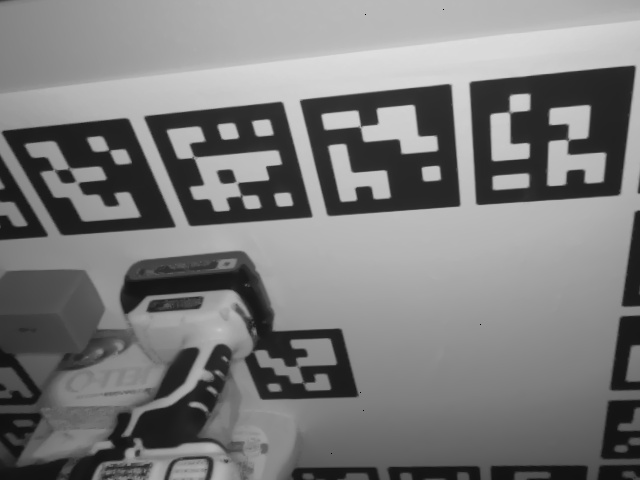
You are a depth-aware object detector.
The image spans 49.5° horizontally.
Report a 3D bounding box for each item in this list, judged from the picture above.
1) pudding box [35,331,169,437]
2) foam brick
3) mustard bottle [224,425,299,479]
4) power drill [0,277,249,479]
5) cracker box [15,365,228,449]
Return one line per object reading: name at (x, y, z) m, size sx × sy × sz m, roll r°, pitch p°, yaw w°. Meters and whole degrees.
pudding box at (-0.177, 0.125, 0.613) m, size 0.113 × 0.091 × 0.038 m, roll -6°, pitch 127°, yaw 8°
foam brick at (-0.242, 0.059, 0.612) m, size 0.078 × 0.052 × 0.052 m, roll -3°, pitch 124°, yaw 9°
mustard bottle at (-0.078, 0.266, 0.647) m, size 0.096 × 0.193 × 0.058 m, roll 6°, pitch 126°, yaw 3°
power drill at (-0.136, 0.113, 0.512) m, size 0.183 × 0.189 × 0.057 m, roll -5°, pitch 129°, yaw 12°
cracker box at (-0.182, 0.197, 0.599) m, size 0.163 × 0.215 × 0.071 m, roll -8°, pitch 127°, yaw 10°
